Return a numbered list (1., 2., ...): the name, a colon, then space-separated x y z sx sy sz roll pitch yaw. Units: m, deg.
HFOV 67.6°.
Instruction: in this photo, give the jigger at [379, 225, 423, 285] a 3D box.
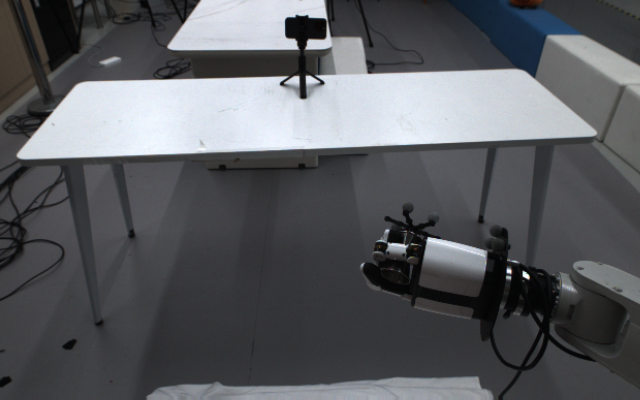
1. jigger: 0.121 0.080 0.704 0.043 0.043 0.071 16 58 19
